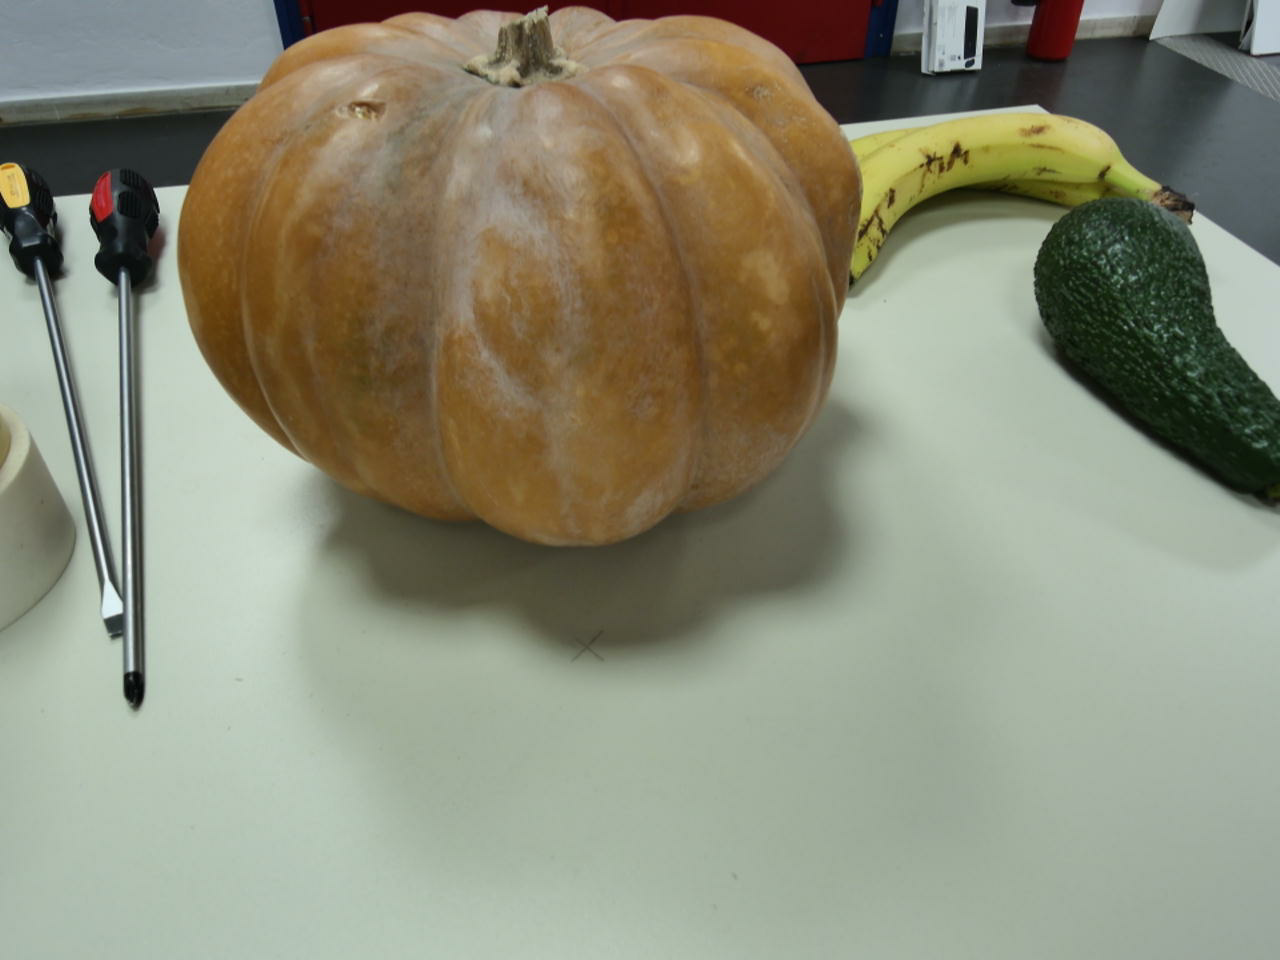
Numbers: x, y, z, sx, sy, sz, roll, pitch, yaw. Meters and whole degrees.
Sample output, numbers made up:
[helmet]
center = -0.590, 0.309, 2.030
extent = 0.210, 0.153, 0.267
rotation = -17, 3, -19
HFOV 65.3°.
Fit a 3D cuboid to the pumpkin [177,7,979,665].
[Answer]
[pumpkin]
center = -0.041, -0.091, 0.405
extent = 0.277, 0.181, 0.277
rotation = 0, 39, 0
